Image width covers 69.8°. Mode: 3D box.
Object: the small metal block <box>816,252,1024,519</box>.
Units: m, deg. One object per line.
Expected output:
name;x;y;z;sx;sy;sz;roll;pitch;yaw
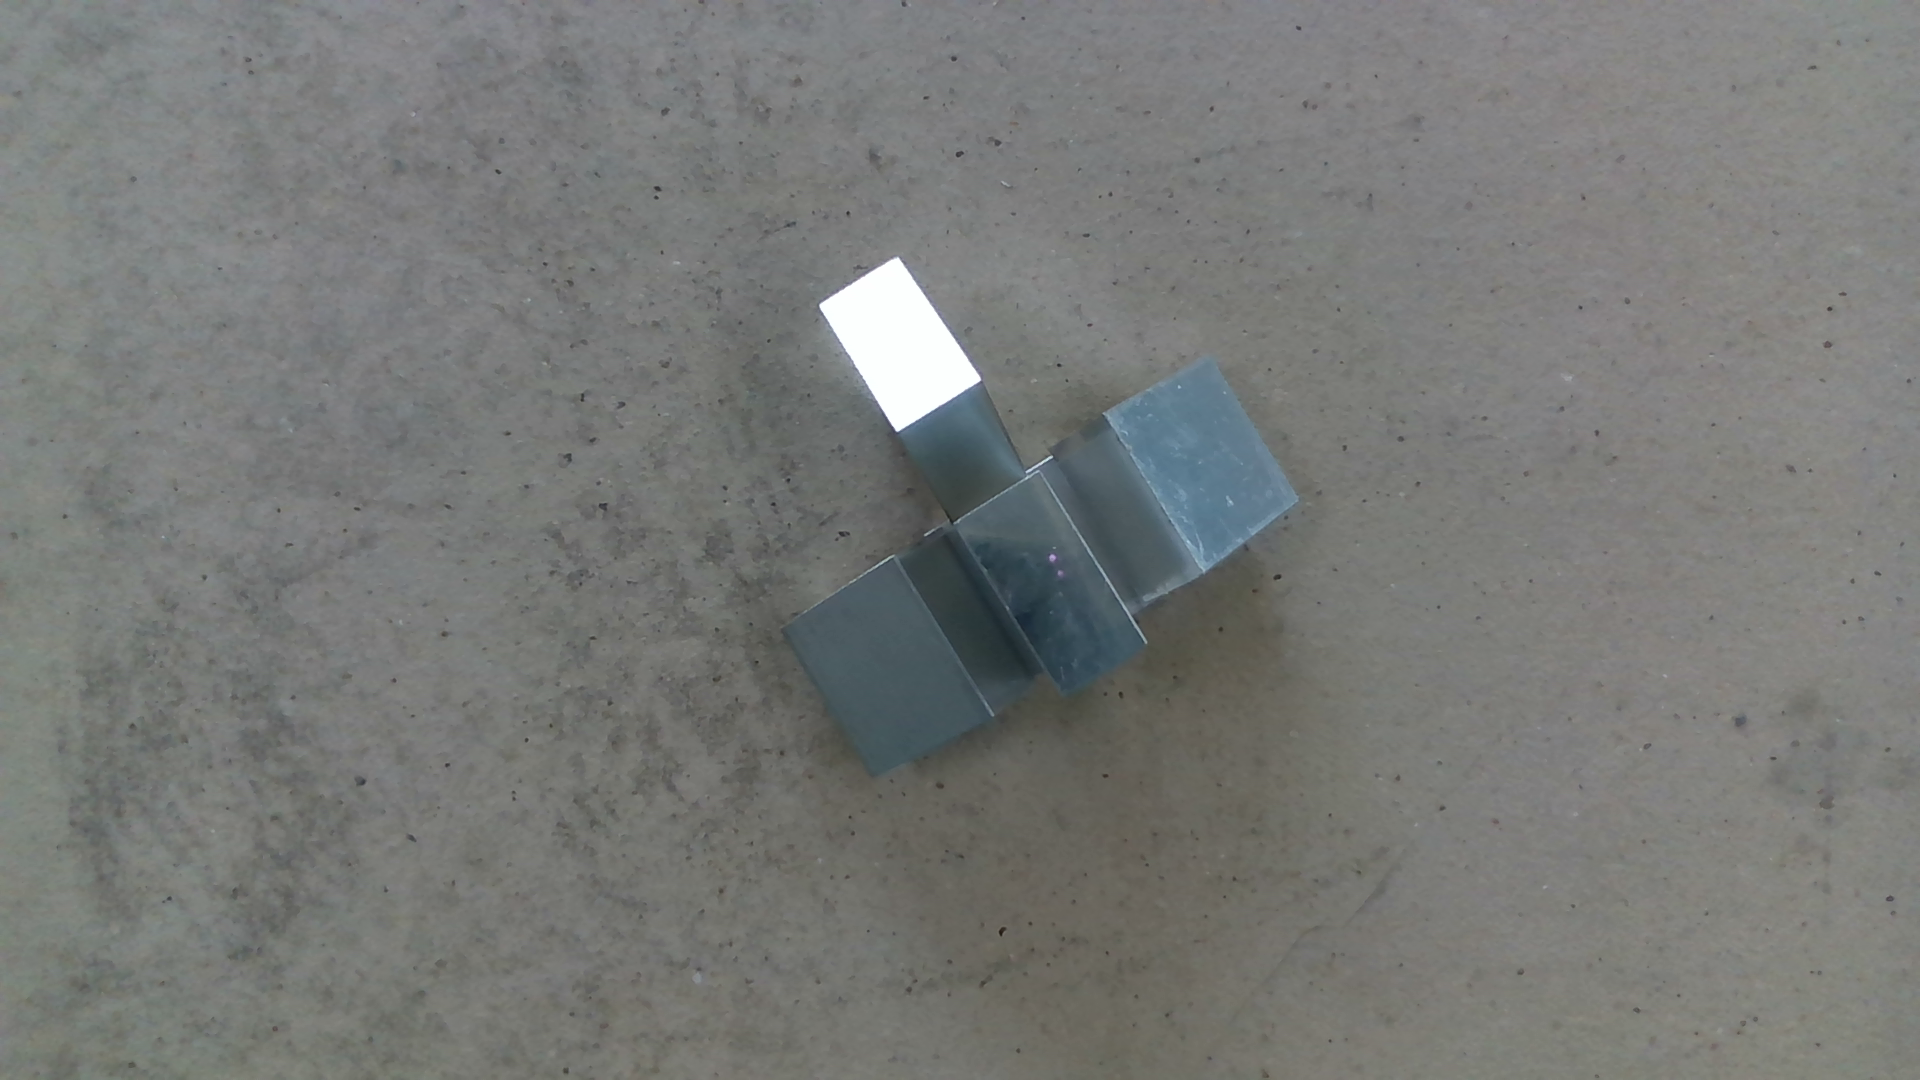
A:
small metal block;-0.009;-0.041;0.374;0.025;0.050;0.050;-31;58;1

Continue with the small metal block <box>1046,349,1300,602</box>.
small metal block;0.060;-0.018;0.383;0.050;0.025;0.050;-31;90;-40

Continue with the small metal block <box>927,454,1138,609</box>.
small metal block;0.024;0.006;0.396;0.050;0.025;0.050;-32;88;0

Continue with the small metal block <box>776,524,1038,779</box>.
small metal block;-0.015;0.031;0.383;0.050;0.025;0.050;-32;90;36

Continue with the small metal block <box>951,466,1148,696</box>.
small metal block;0.022;0.010;0.358;0.025;0.050;0.050;-32;90;0
